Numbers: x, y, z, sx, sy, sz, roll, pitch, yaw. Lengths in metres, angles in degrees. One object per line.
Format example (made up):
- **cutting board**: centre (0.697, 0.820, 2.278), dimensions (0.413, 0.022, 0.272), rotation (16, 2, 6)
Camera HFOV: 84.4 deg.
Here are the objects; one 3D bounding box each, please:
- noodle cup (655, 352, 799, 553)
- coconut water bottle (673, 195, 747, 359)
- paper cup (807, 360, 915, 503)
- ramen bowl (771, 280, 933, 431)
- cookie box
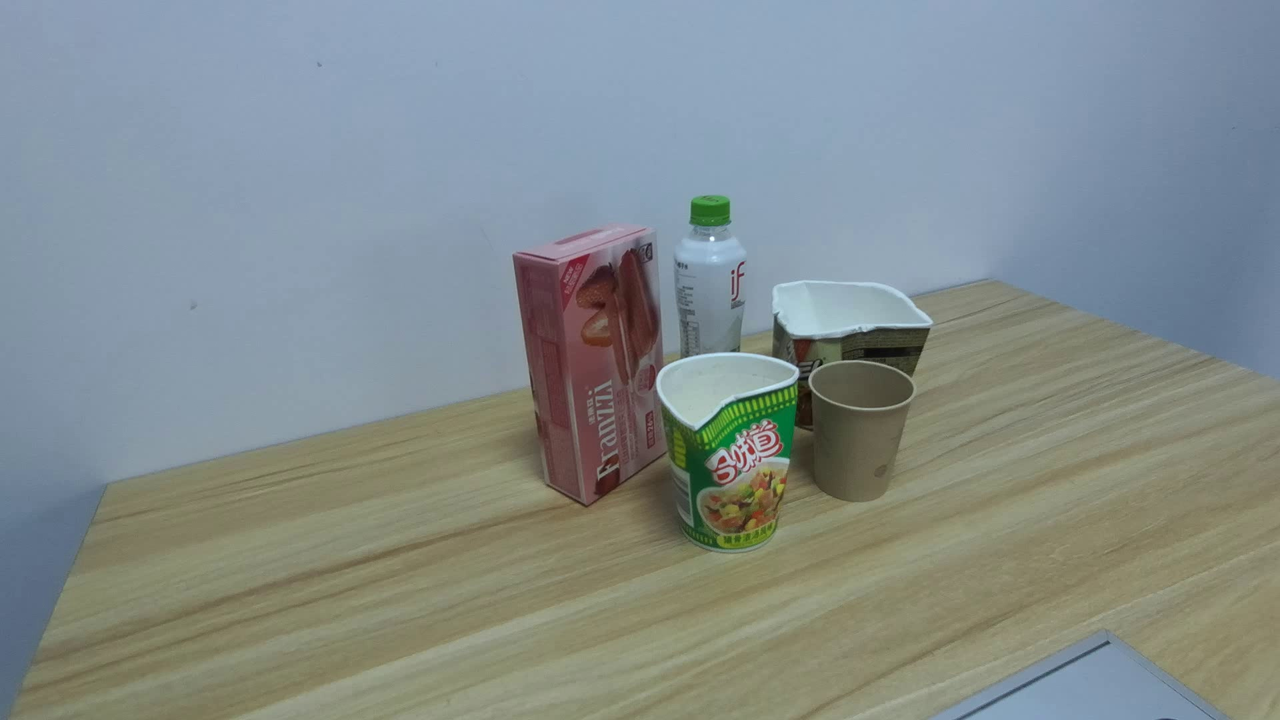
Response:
- **noodle cup**: centre (0.060, 0.061, 0.471), dimensions (0.094, 0.109, 0.086), rotation (-11, 28, -13)
- **coconut water bottle**: centre (0.059, -0.037, 0.582), dimensions (0.063, 0.189, 0.063), rotation (-2, 23, 1)
- **paper cup**: centre (0.157, 0.053, 0.512), dimensions (0.075, 0.082, 0.075), rotation (-1, 26, 1)
- **ramen bowl**: centre (0.167, -0.010, 0.620), dimensions (0.114, 0.098, 0.133), rotation (-11, 28, -9)
- **cookie box**: centre (-0.029, 0.003, 0.520), dimensions (0.048, 0.185, 0.096), rotation (17, 31, 39)
